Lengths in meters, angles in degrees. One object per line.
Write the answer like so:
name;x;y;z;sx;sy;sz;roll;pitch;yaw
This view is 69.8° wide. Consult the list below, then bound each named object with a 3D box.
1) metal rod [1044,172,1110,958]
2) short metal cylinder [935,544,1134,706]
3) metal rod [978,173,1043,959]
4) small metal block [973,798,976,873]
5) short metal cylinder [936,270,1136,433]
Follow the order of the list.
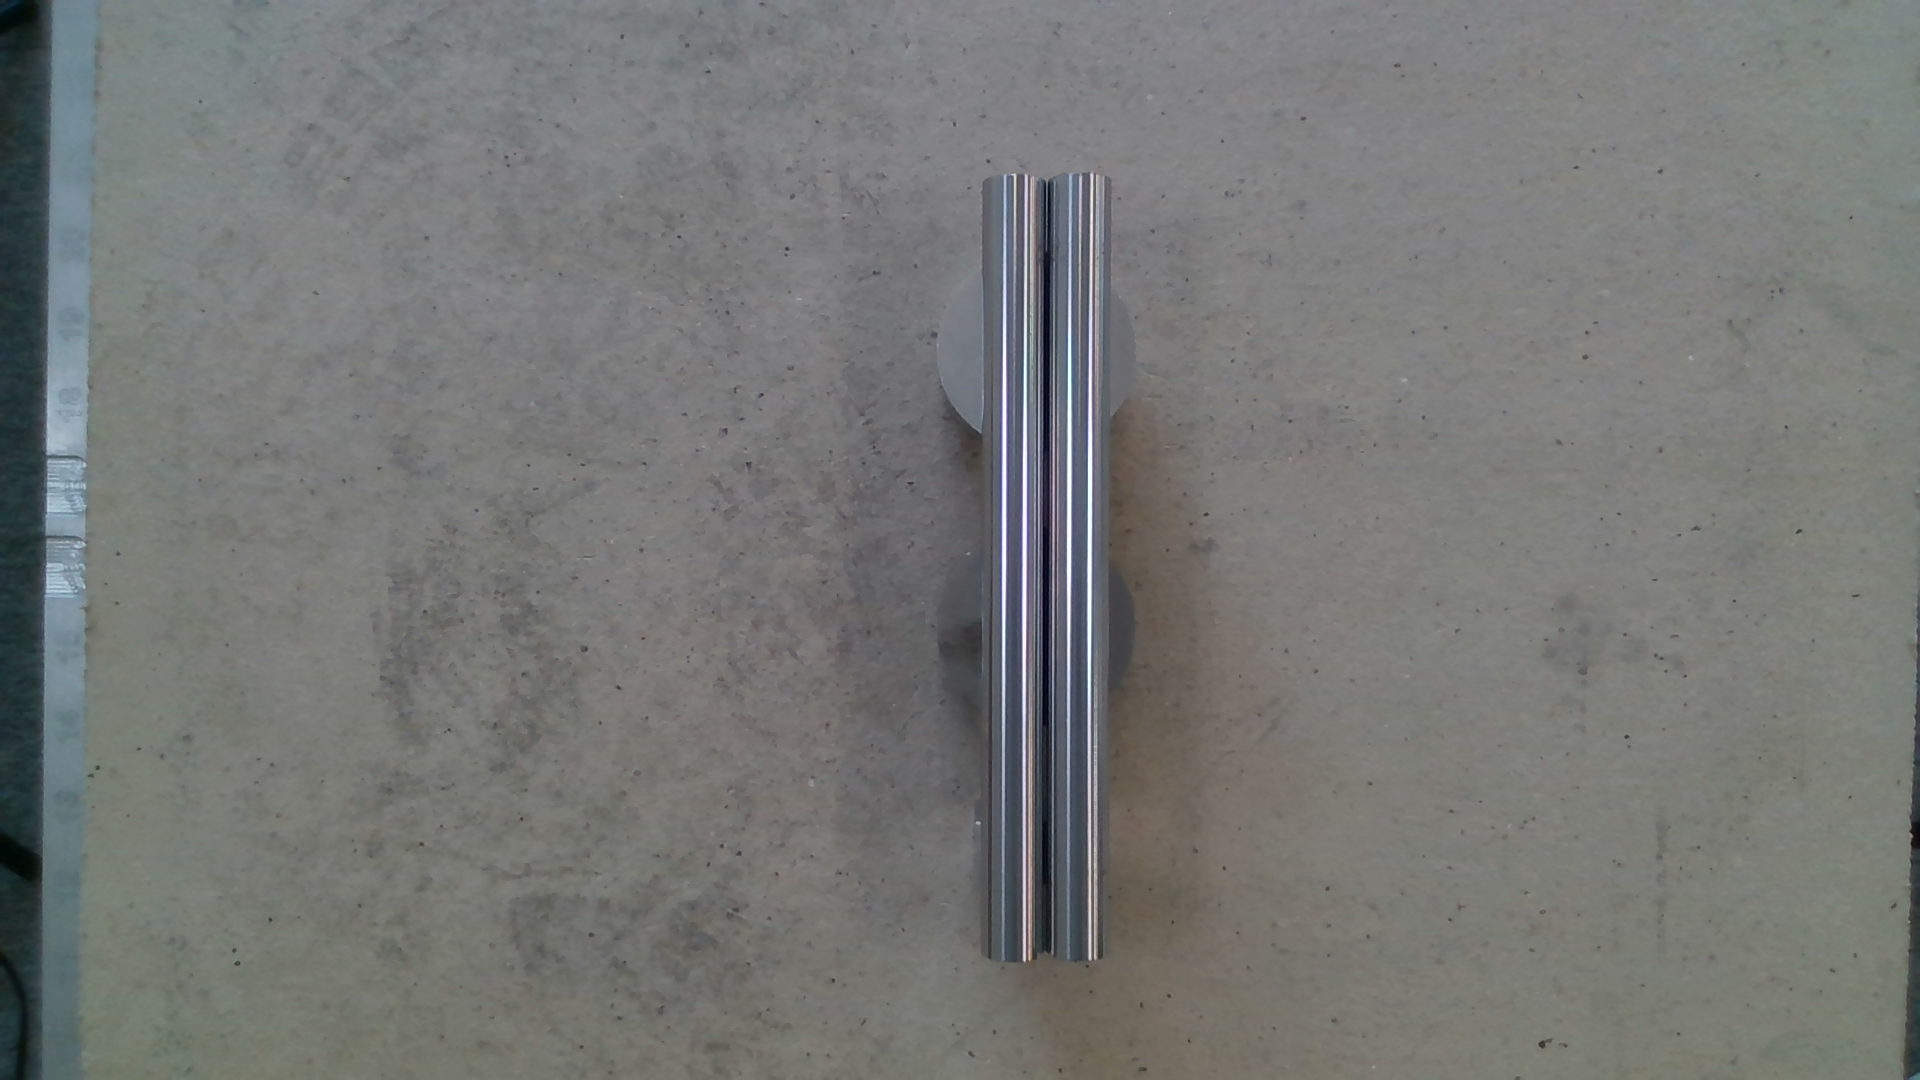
metal rod;0.046;0.010;0.537;0.025;0.025;0.300;0;91;0
short metal cylinder;0.030;0.034;0.576;0.080;0.050;0.080;0;90;0
metal rod;0.020;0.010;0.537;0.025;0.025;0.300;0;91;0
small metal block;0.031;0.125;0.578;0.050;0.050;0.025;-2;91;-1
short metal cylinder;0.030;-0.076;0.574;0.080;0.050;0.080;0;90;0
